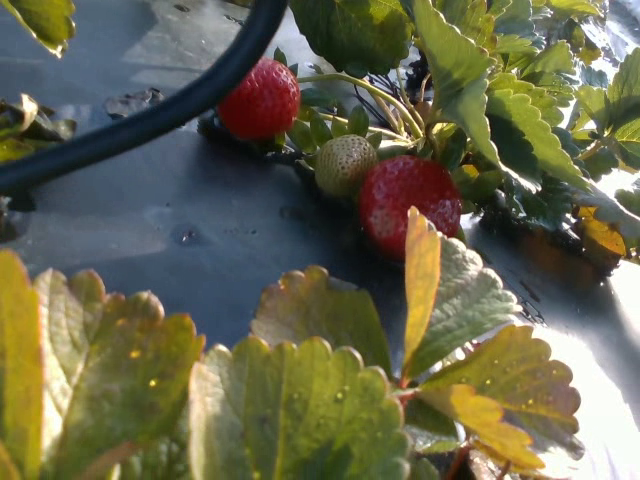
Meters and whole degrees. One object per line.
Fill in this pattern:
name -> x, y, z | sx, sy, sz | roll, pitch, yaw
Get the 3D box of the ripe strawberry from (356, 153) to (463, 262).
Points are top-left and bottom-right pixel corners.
ripe strawberry -> 0.034, -0.013, 0.252 | 0.048, 0.050, 0.065 | -6, 25, 34
